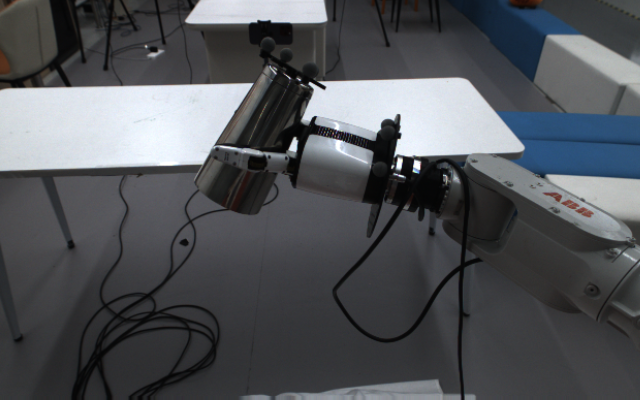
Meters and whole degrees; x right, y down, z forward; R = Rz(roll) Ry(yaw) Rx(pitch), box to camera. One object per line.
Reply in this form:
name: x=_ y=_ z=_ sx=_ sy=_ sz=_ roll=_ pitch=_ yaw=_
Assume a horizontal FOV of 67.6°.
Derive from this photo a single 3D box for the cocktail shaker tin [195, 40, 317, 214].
cocktail shaker tin: x=-0.076 y=-0.080 z=0.600 sx=0.093 sy=0.170 sz=0.093 roll=28 pitch=14 yaw=-7
